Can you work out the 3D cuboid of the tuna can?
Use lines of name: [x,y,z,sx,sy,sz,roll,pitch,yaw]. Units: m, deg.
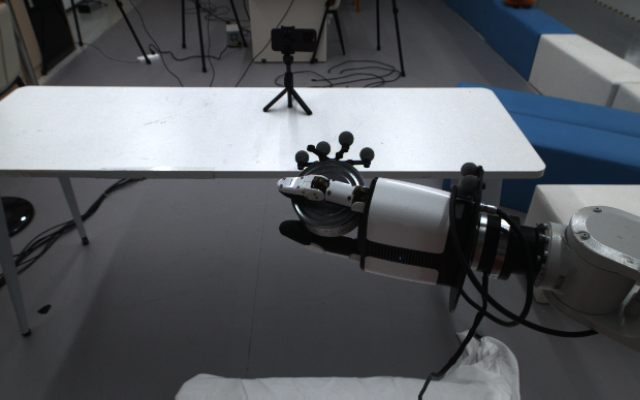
tuna can: [0.012,-0.002,0.558,0.085,0.034,0.085,-6,61,10]
